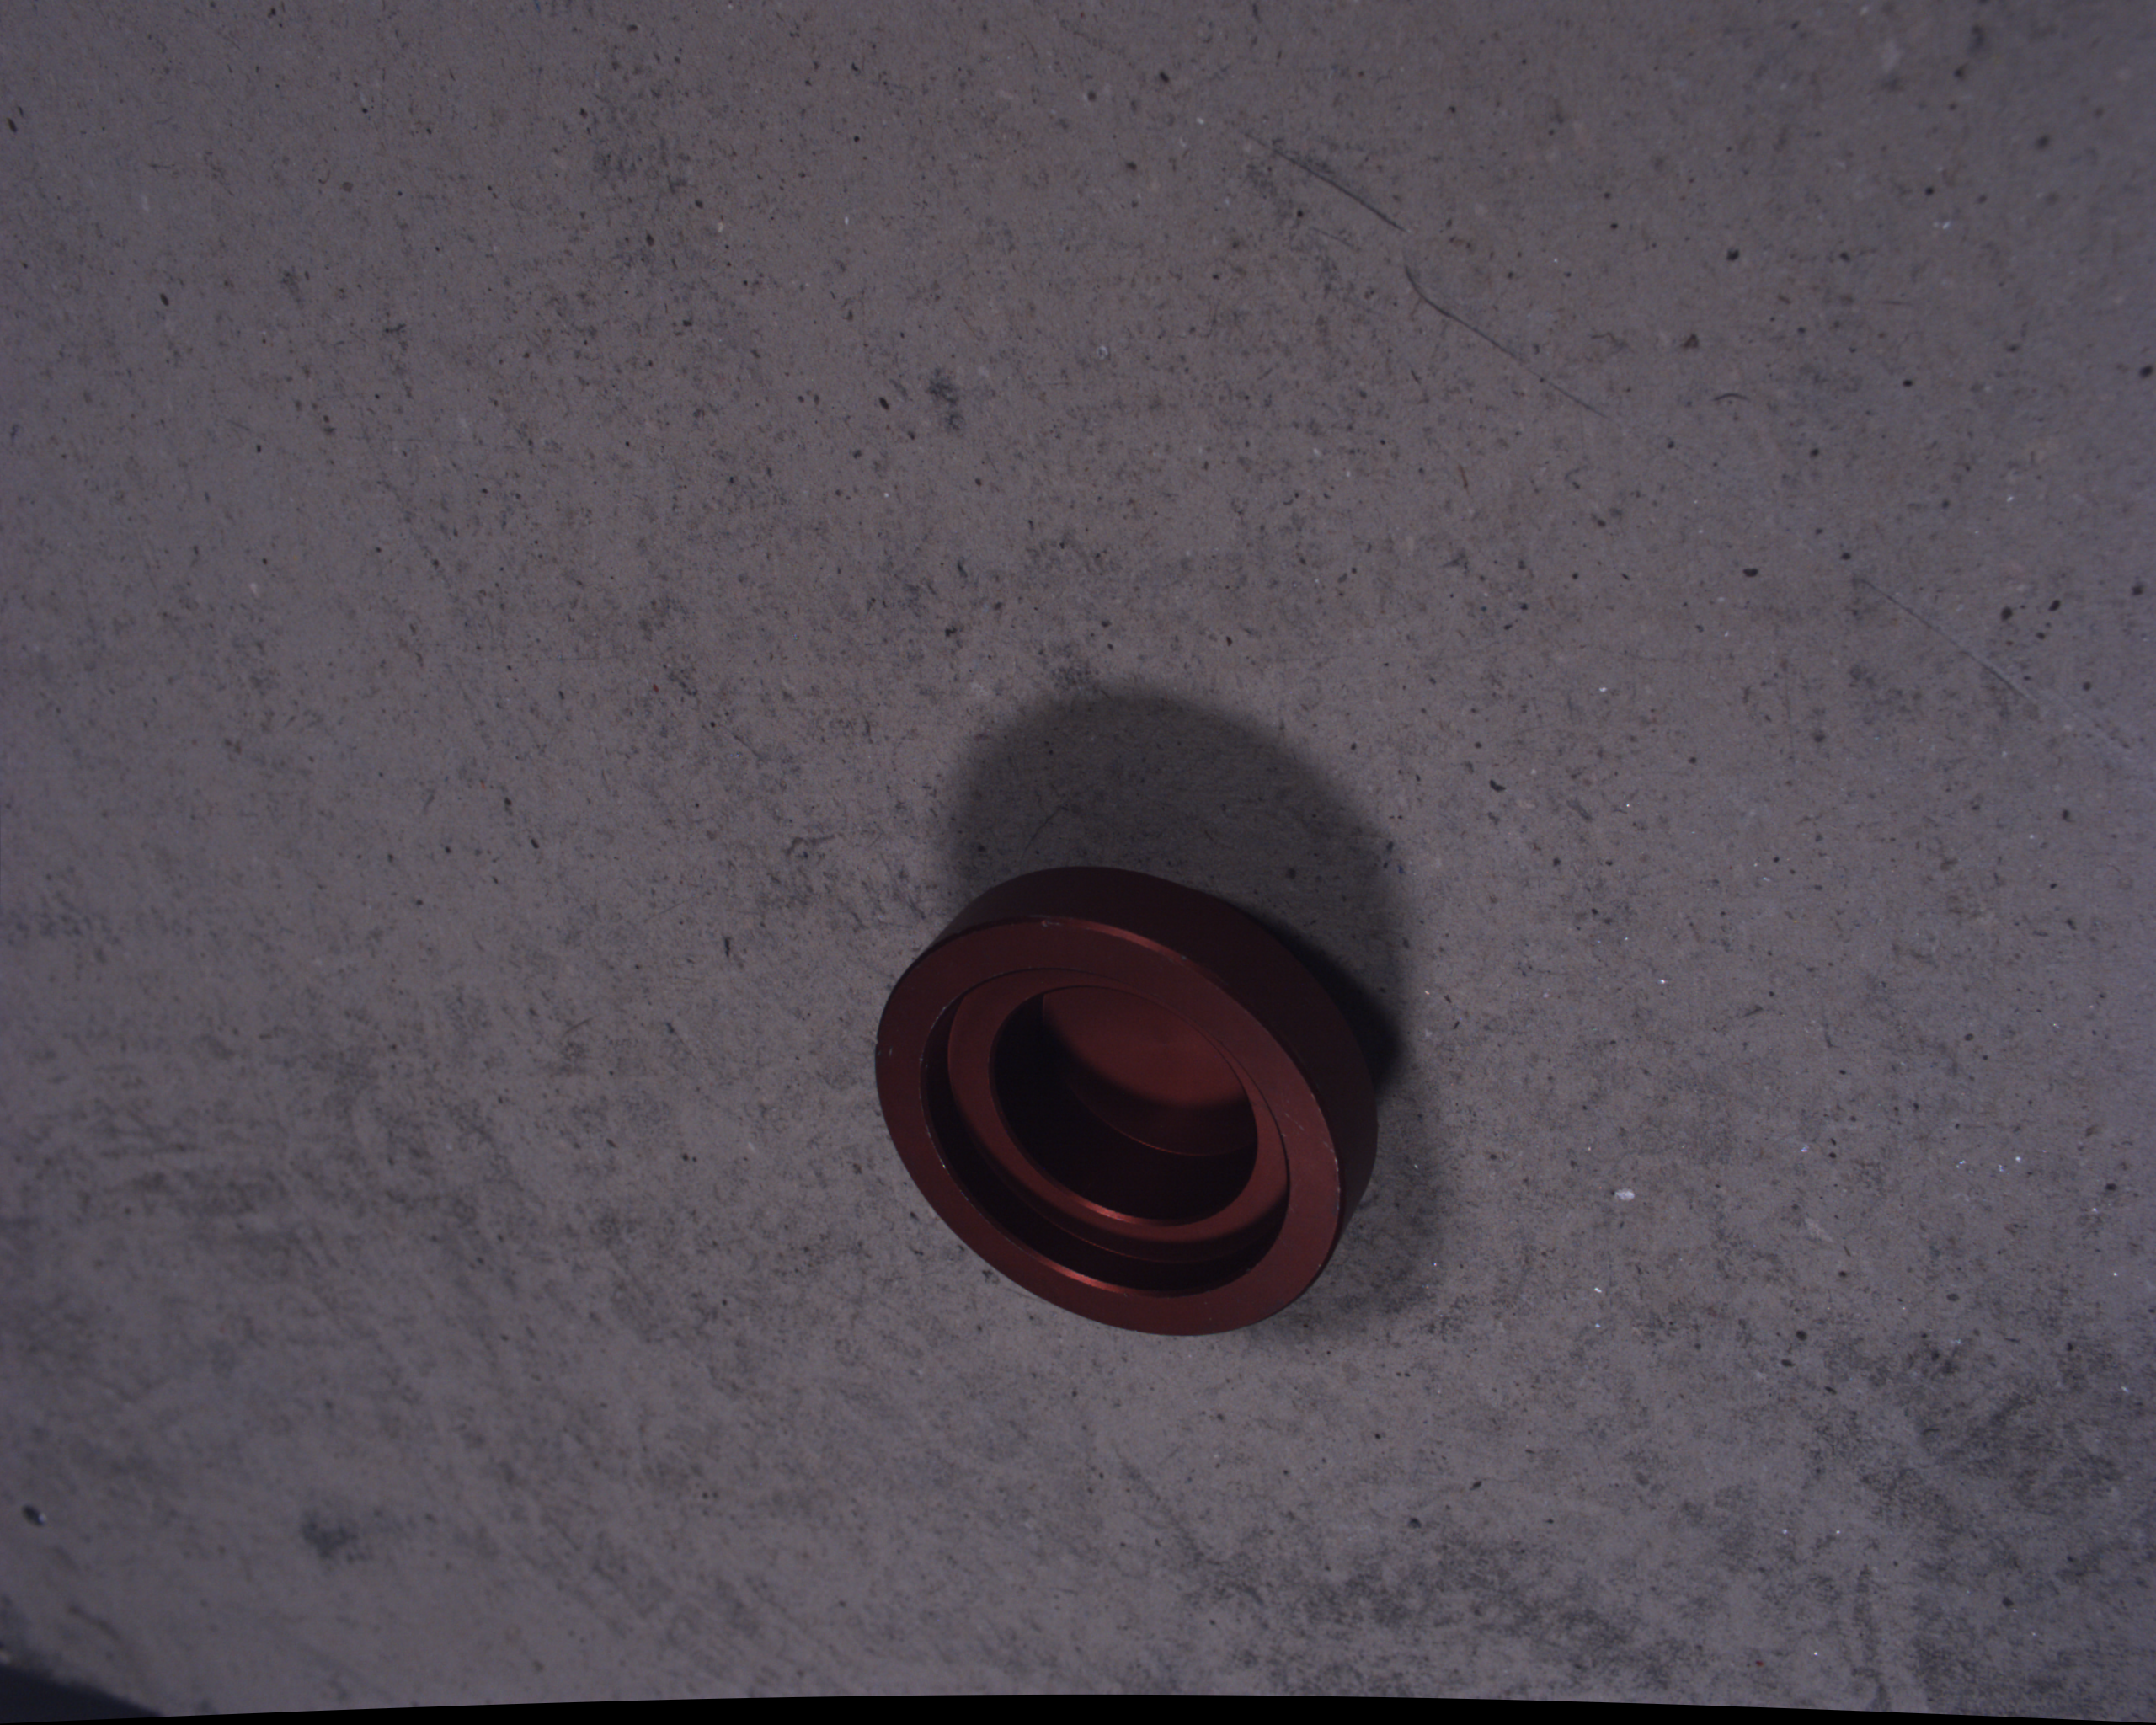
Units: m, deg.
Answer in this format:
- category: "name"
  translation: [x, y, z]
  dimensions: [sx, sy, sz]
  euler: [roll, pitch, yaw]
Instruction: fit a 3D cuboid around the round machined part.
- category: "round machined part"
  translation: [0.012, 0.043, 0.416]
  dimensions: [0.098, 0.042, 0.097]
  euler: [13, 124, 20]
